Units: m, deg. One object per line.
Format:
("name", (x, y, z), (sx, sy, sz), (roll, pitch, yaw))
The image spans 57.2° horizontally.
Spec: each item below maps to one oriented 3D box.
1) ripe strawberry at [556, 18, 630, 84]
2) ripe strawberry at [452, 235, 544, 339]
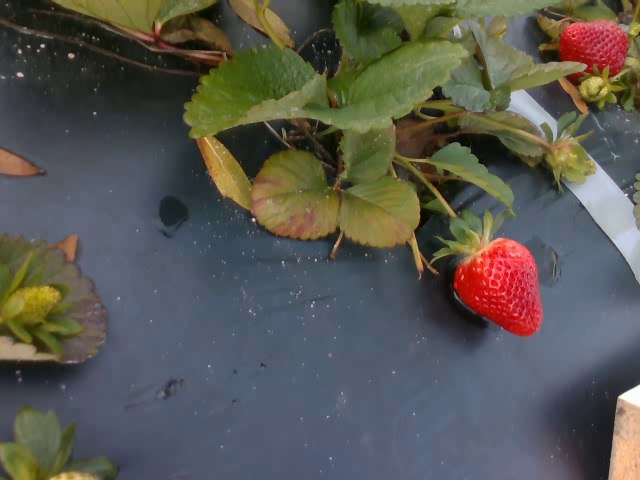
("ripe strawberry", (0.177, -0.131, 0.381), (0.062, 0.043, 0.042), (14, 8, -27))
("ripe strawberry", (0.077, 0.018, 0.242), (0.036, 0.046, 0.040), (-21, -25, -17))
